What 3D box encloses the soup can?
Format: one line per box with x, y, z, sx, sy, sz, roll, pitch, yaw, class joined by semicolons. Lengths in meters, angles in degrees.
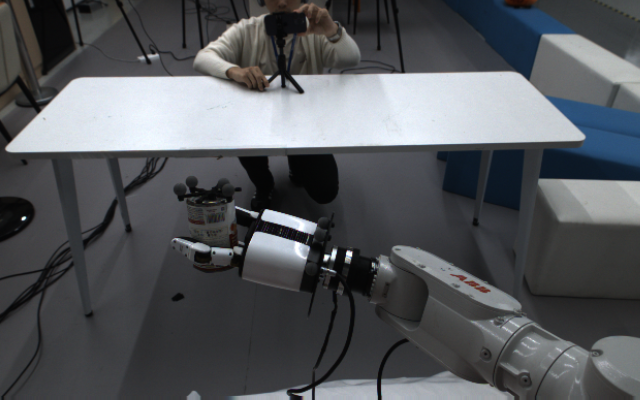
-0.151;0.044;0.688;0.067;0.101;0.067;-2;17;0;soup can
